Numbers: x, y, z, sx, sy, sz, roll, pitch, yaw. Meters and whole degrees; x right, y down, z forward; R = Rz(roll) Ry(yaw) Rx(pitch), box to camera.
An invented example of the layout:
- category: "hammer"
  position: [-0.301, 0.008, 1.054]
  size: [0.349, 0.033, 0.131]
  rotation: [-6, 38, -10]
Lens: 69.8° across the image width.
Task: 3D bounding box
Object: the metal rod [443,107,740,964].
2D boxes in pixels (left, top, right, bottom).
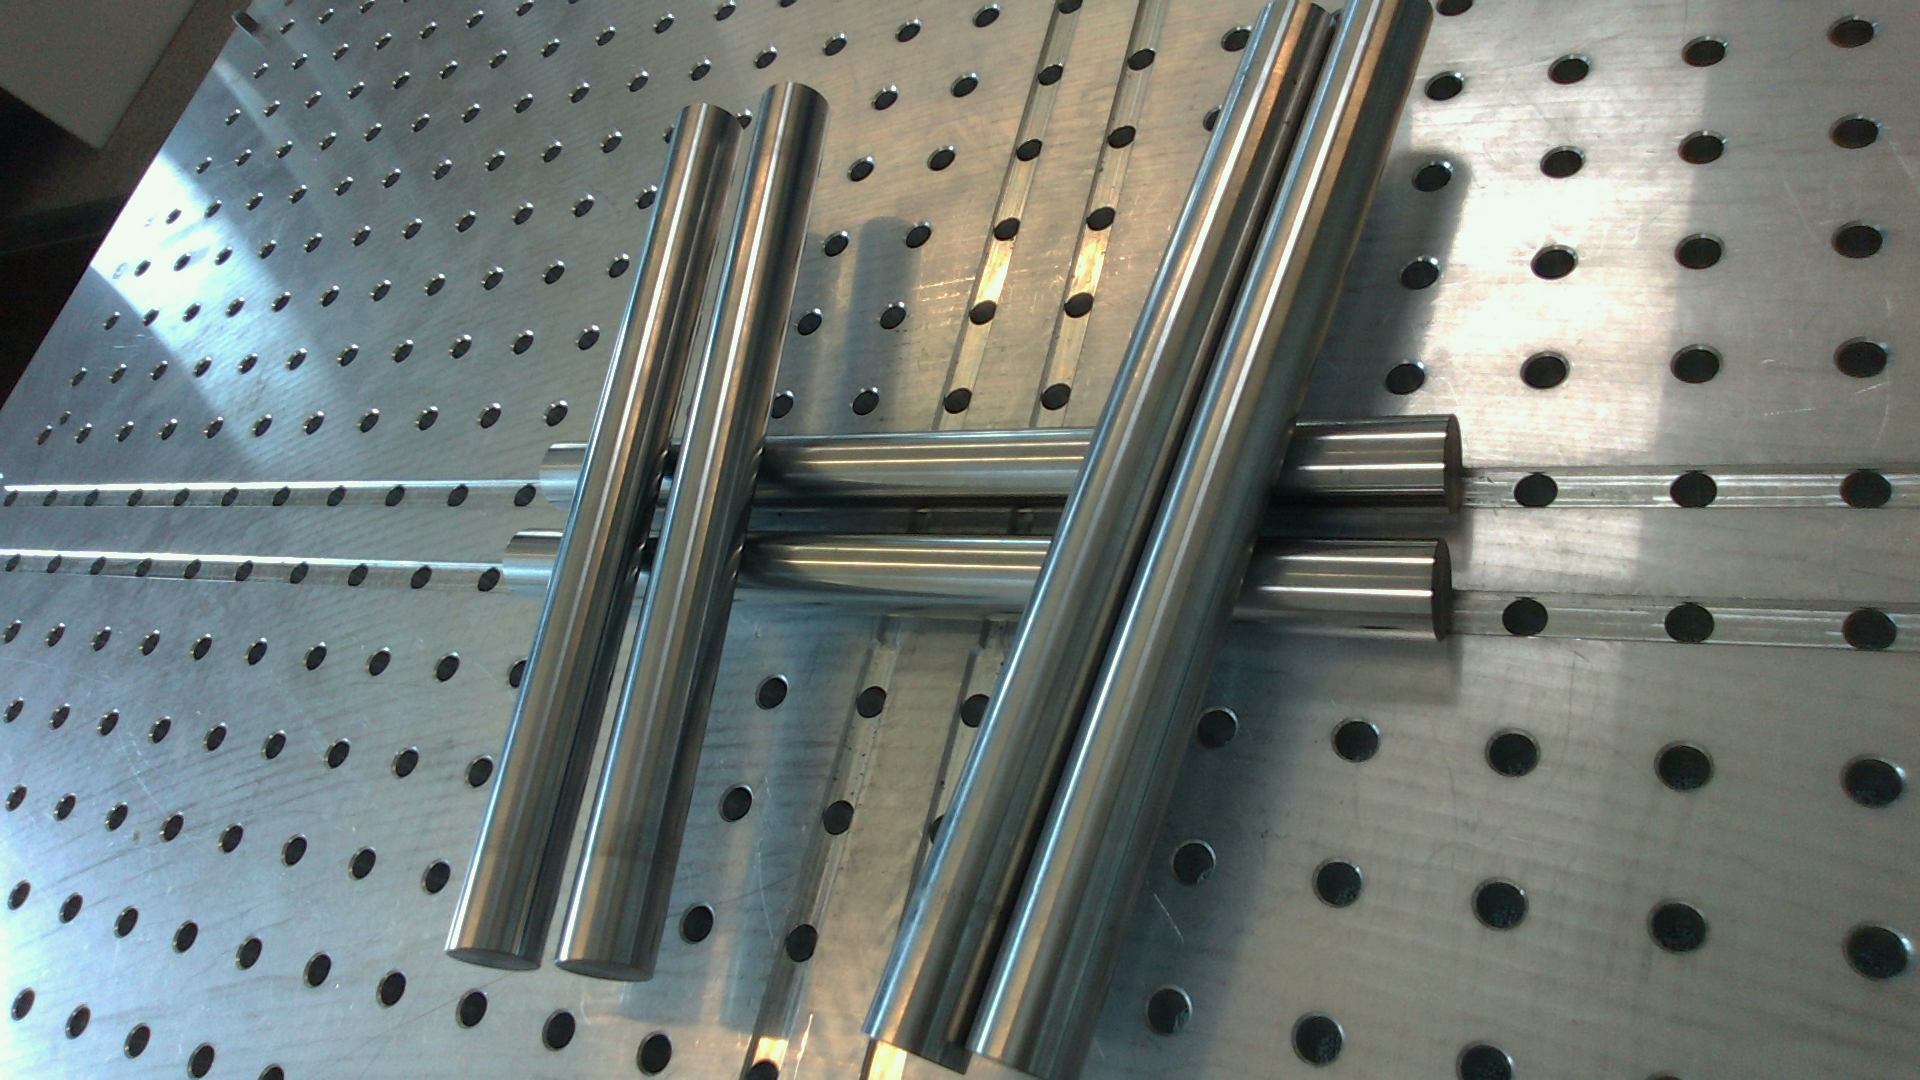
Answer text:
- category: "metal rod"
  position: [-0.109, -0.020, 0.436]
  size: [0.025, 0.025, 0.300]
  rotation: [-8, 58, 24]

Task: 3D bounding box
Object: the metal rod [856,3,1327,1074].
- category: "metal rod"
  position: [0.043, -0.018, 0.353]
  size: [0.025, 0.025, 0.300]
  rotation: [9, 66, 32]

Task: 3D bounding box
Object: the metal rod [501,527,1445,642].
- category: "metal rod"
  position: [-0.017, 0.010, 0.401]
  size: [0.299, 0.025, 0.025]
  rotation: [1, 62, 29]

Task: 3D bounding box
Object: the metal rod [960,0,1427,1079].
- category: "metal rod"
  position: [0.066, -0.018, 0.341]
  size: [0.025, 0.025, 0.300]
  rotation: [9, 66, 32]

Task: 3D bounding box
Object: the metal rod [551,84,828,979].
- category: "metal rod"
  position: [-0.075, -0.023, 0.420]
  size: [0.025, 0.025, 0.300]
  rotation: [-8, 58, 25]

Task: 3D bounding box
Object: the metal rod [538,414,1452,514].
- category: "metal rod"
  position: [-0.009, -0.021, 0.416]
  size: [0.299, 0.025, 0.025]
  rotation: [1, 62, 29]
